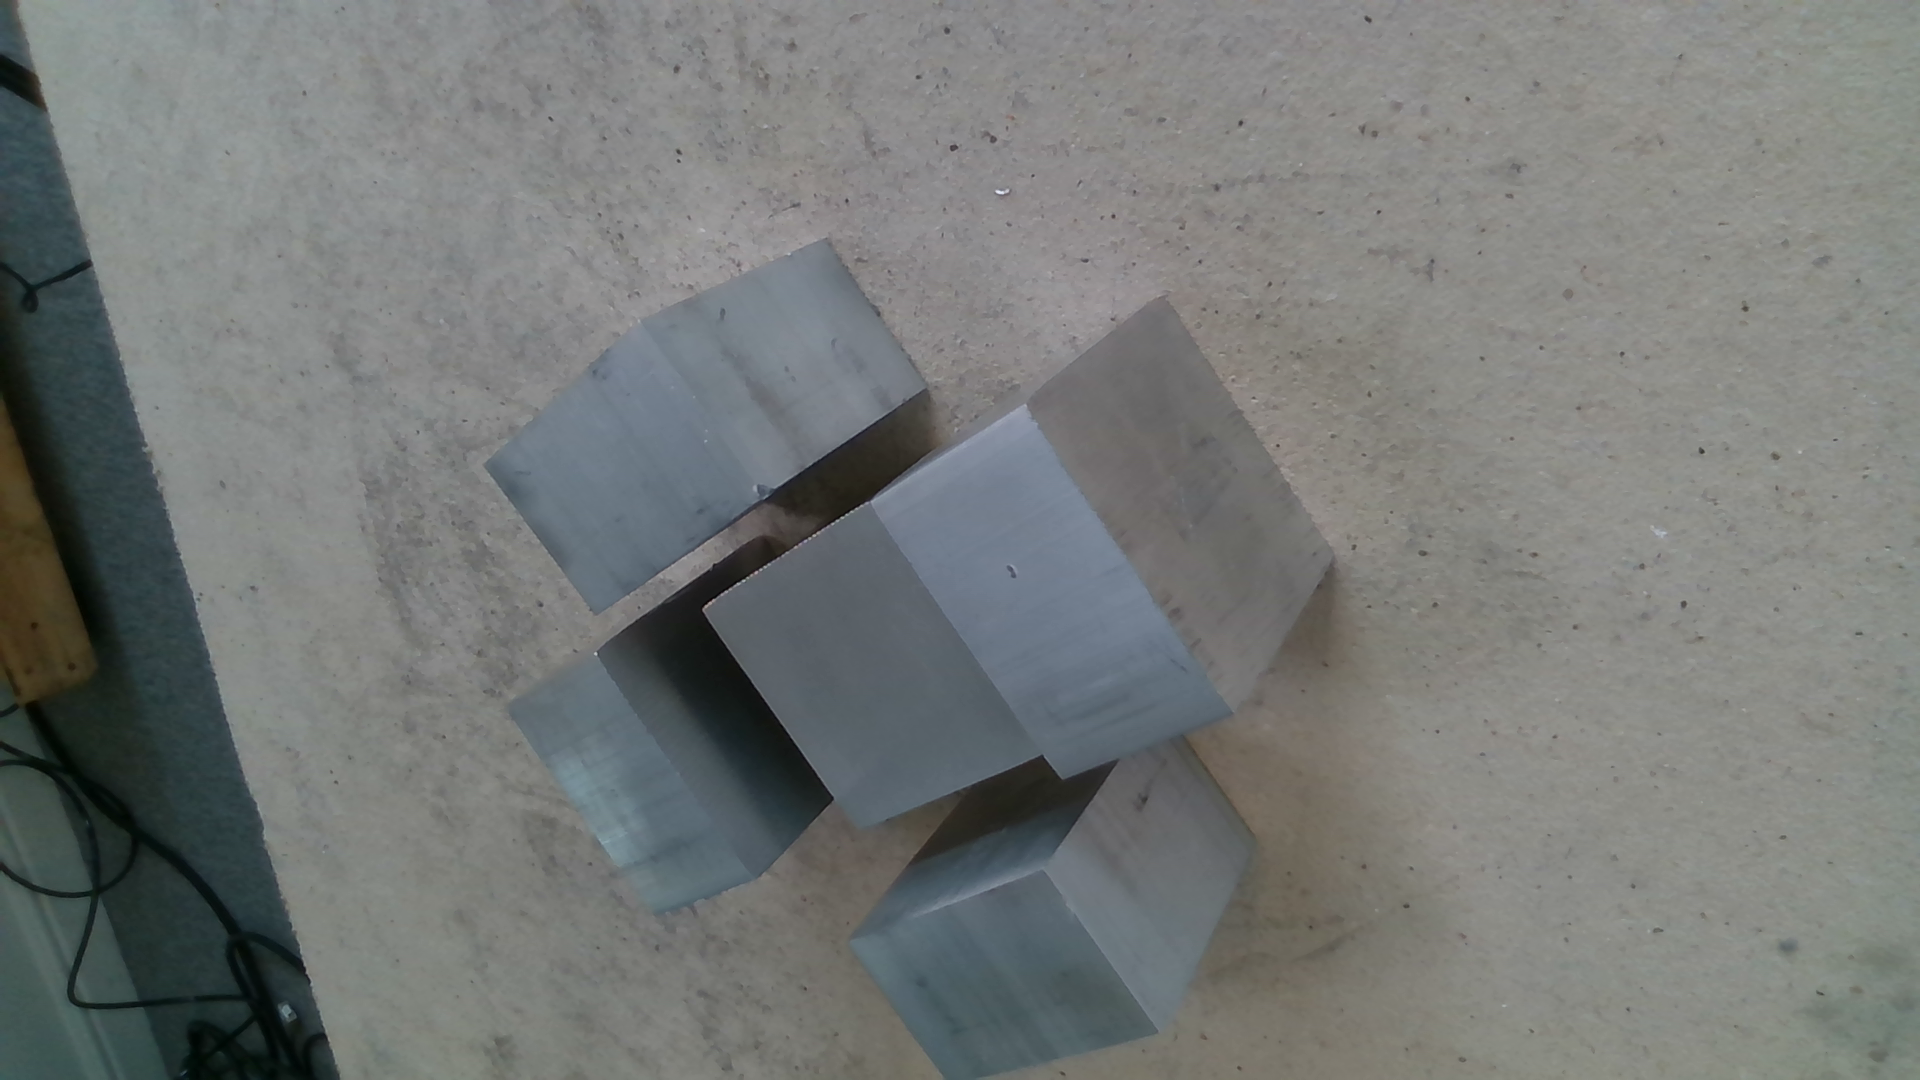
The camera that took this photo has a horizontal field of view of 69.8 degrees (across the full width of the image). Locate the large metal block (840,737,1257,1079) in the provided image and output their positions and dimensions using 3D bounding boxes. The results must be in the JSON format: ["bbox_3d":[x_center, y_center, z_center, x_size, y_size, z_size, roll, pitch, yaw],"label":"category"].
[{"bbox_3d":[0.026,0.099,0.391,0.080,0.080,0.050,-31,97,39],"label":"large metal block"}]

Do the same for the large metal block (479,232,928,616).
[{"bbox_3d":[-0.069,-0.032,0.378,0.080,0.080,0.050,-30,97,39],"label":"large metal block"}]

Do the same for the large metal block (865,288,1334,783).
[{"bbox_3d":[0.037,-0.003,0.330,0.050,0.080,0.080,-30,98,39],"label":"large metal block"}]

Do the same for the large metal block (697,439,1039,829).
[{"bbox_3d":[-0.014,0.026,0.392,0.080,0.050,0.080,-30,98,39],"label":"large metal block"}]

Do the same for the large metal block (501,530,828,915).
[{"bbox_3d":[-0.079,0.056,0.432,0.050,0.080,0.080,-28,99,38],"label":"large metal block"}]
